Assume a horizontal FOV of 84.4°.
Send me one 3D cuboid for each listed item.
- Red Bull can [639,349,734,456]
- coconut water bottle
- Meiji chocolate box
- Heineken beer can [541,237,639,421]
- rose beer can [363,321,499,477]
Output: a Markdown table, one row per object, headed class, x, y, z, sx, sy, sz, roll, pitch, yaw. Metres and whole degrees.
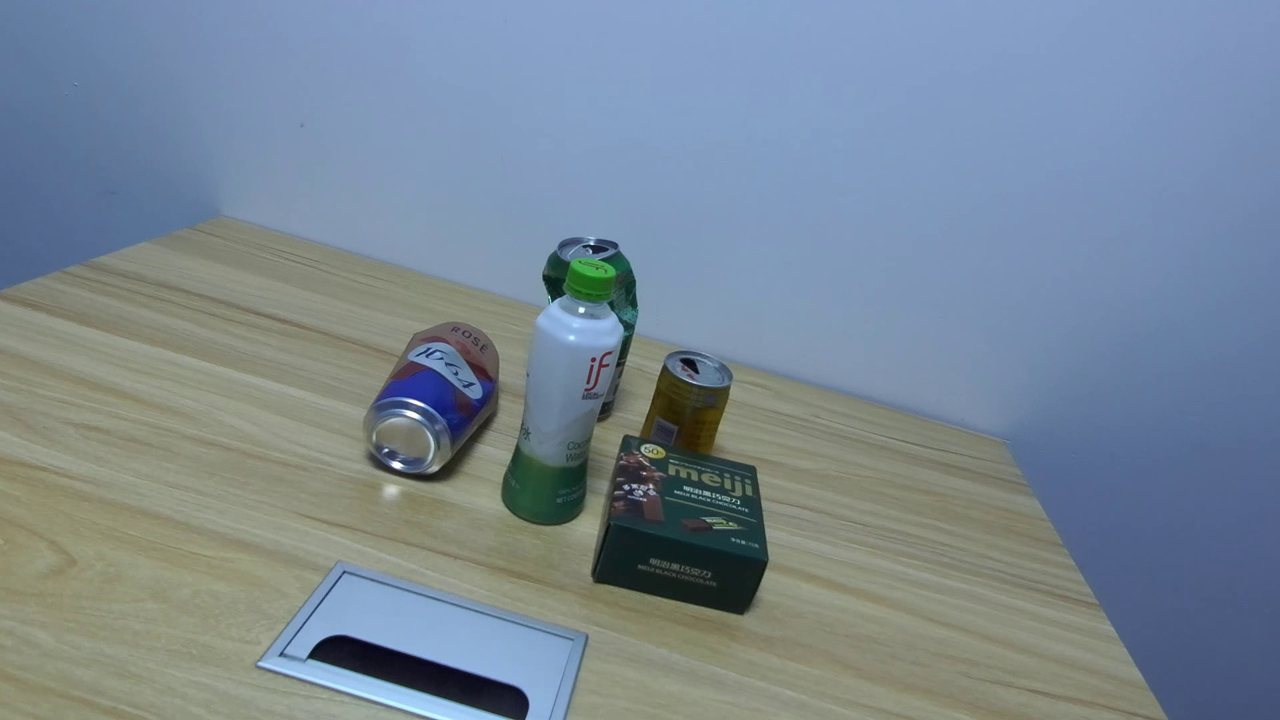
| class | x | y | z | sx | sy | sz | roll | pitch | yaw |
| --- | --- | --- | --- | --- | --- | --- | --- | --- | --- |
| Red Bull can | 0.037 | 0.045 | 0.606 | 0.069 | 0.092 | 0.069 | 13 | 27 | -6 |
| coconut water bottle | -0.052 | 0.023 | 0.494 | 0.063 | 0.188 | 0.063 | 12 | 25 | -5 |
| Meiji chocolate box | 0.029 | 0.116 | 0.511 | 0.110 | 0.056 | 0.109 | 15 | 27 | -3 |
| Heineken beer can | -0.045 | -0.027 | 0.632 | 0.079 | 0.159 | 0.067 | -1 | 24 | -18 |
| rose beer can | -0.162 | 0.023 | 0.580 | 0.070 | 0.069 | 0.168 | -5 | 25 | 6 |
